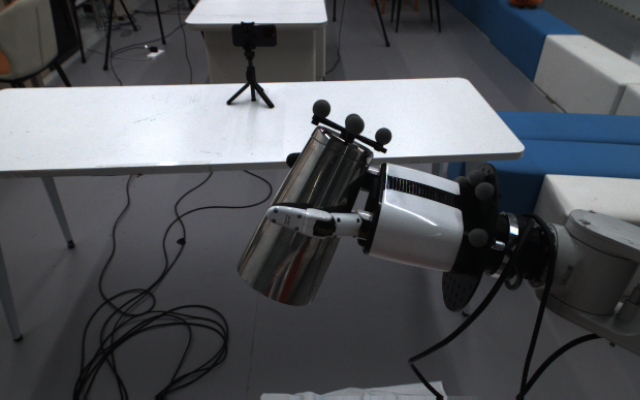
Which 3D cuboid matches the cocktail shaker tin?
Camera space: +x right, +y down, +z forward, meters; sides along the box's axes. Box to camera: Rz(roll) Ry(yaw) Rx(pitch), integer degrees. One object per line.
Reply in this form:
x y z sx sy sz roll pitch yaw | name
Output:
-0.008 0.013 0.507 0.093 0.170 0.093 24 12 -5 | cocktail shaker tin
